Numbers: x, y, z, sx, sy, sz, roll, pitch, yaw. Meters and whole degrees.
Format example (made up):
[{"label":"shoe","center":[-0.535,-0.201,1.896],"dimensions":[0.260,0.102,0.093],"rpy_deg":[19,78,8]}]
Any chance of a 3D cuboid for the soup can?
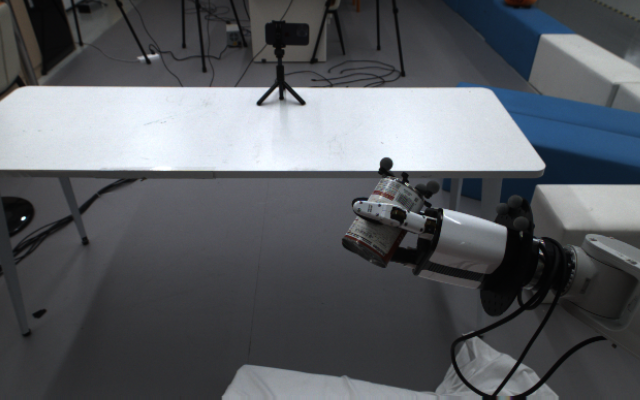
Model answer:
[{"label":"soup can","center":[0.084,0.026,0.635],"dimensions":[0.067,0.067,0.101],"rpy_deg":[27,76,31]}]
